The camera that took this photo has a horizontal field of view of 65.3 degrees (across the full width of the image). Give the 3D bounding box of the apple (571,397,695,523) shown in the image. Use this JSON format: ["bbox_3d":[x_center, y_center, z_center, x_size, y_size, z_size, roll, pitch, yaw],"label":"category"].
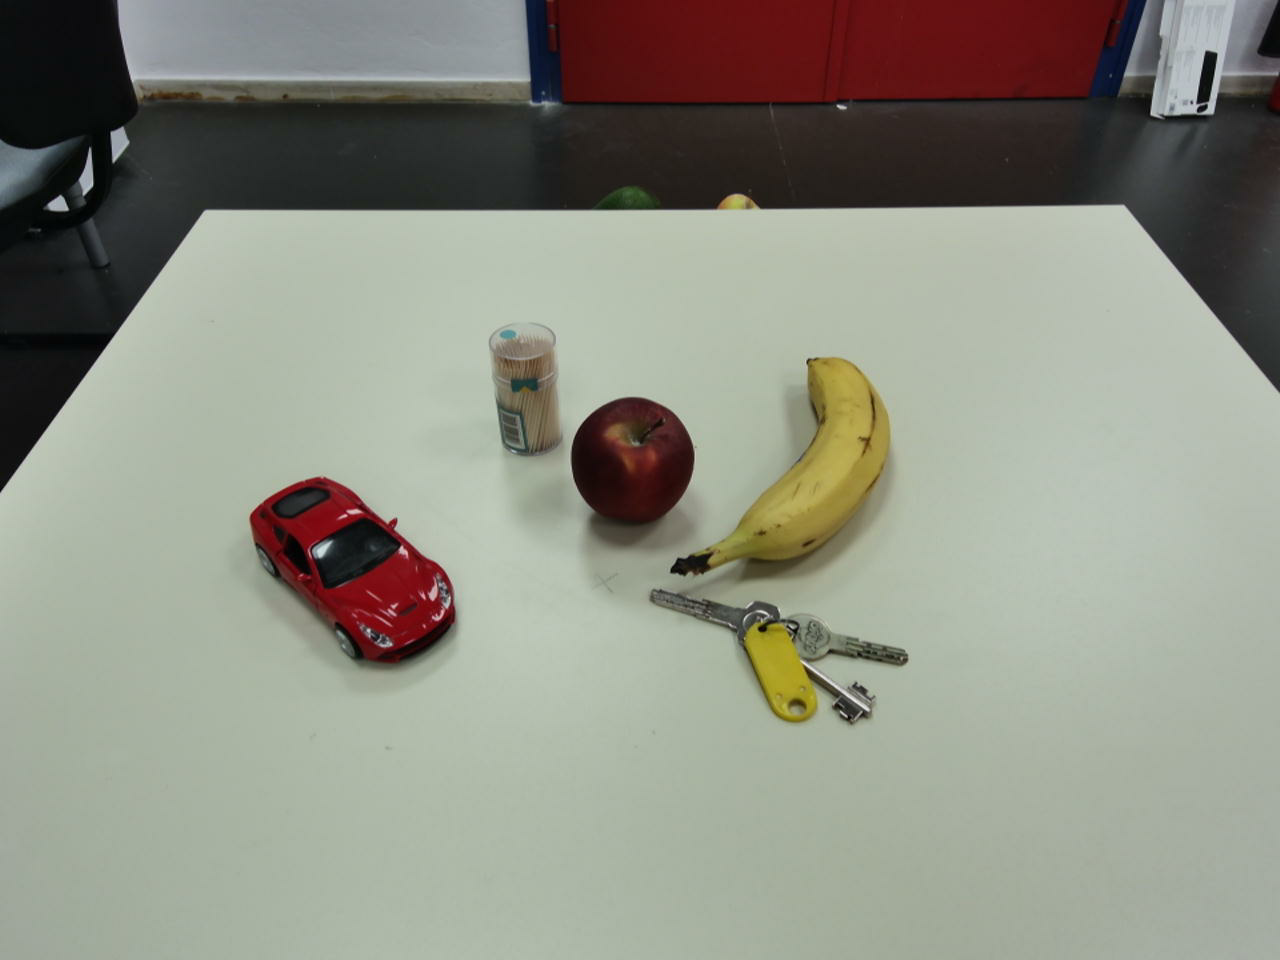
[{"bbox_3d":[-0.004,-0.010,0.558,0.070,0.072,0.070,0,39,0],"label":"apple"}]
